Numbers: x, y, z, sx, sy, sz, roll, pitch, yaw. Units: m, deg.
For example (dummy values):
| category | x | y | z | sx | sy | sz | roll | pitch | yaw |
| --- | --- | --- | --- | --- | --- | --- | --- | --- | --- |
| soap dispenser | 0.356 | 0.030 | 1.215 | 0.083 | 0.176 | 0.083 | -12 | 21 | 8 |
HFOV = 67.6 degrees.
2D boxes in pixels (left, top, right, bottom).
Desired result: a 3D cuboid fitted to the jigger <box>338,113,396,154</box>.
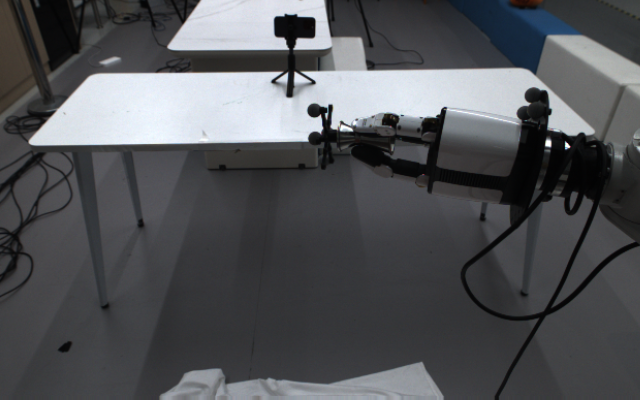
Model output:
| category | x | y | z | sx | sy | sz | roll | pitch | yaw |
| --- | --- | --- | --- | --- | --- | --- | --- | --- | --- |
| jigger | 0.066 | -0.083 | 0.614 | 0.071 | 0.043 | 0.043 | 3 | 34 | 15 |
